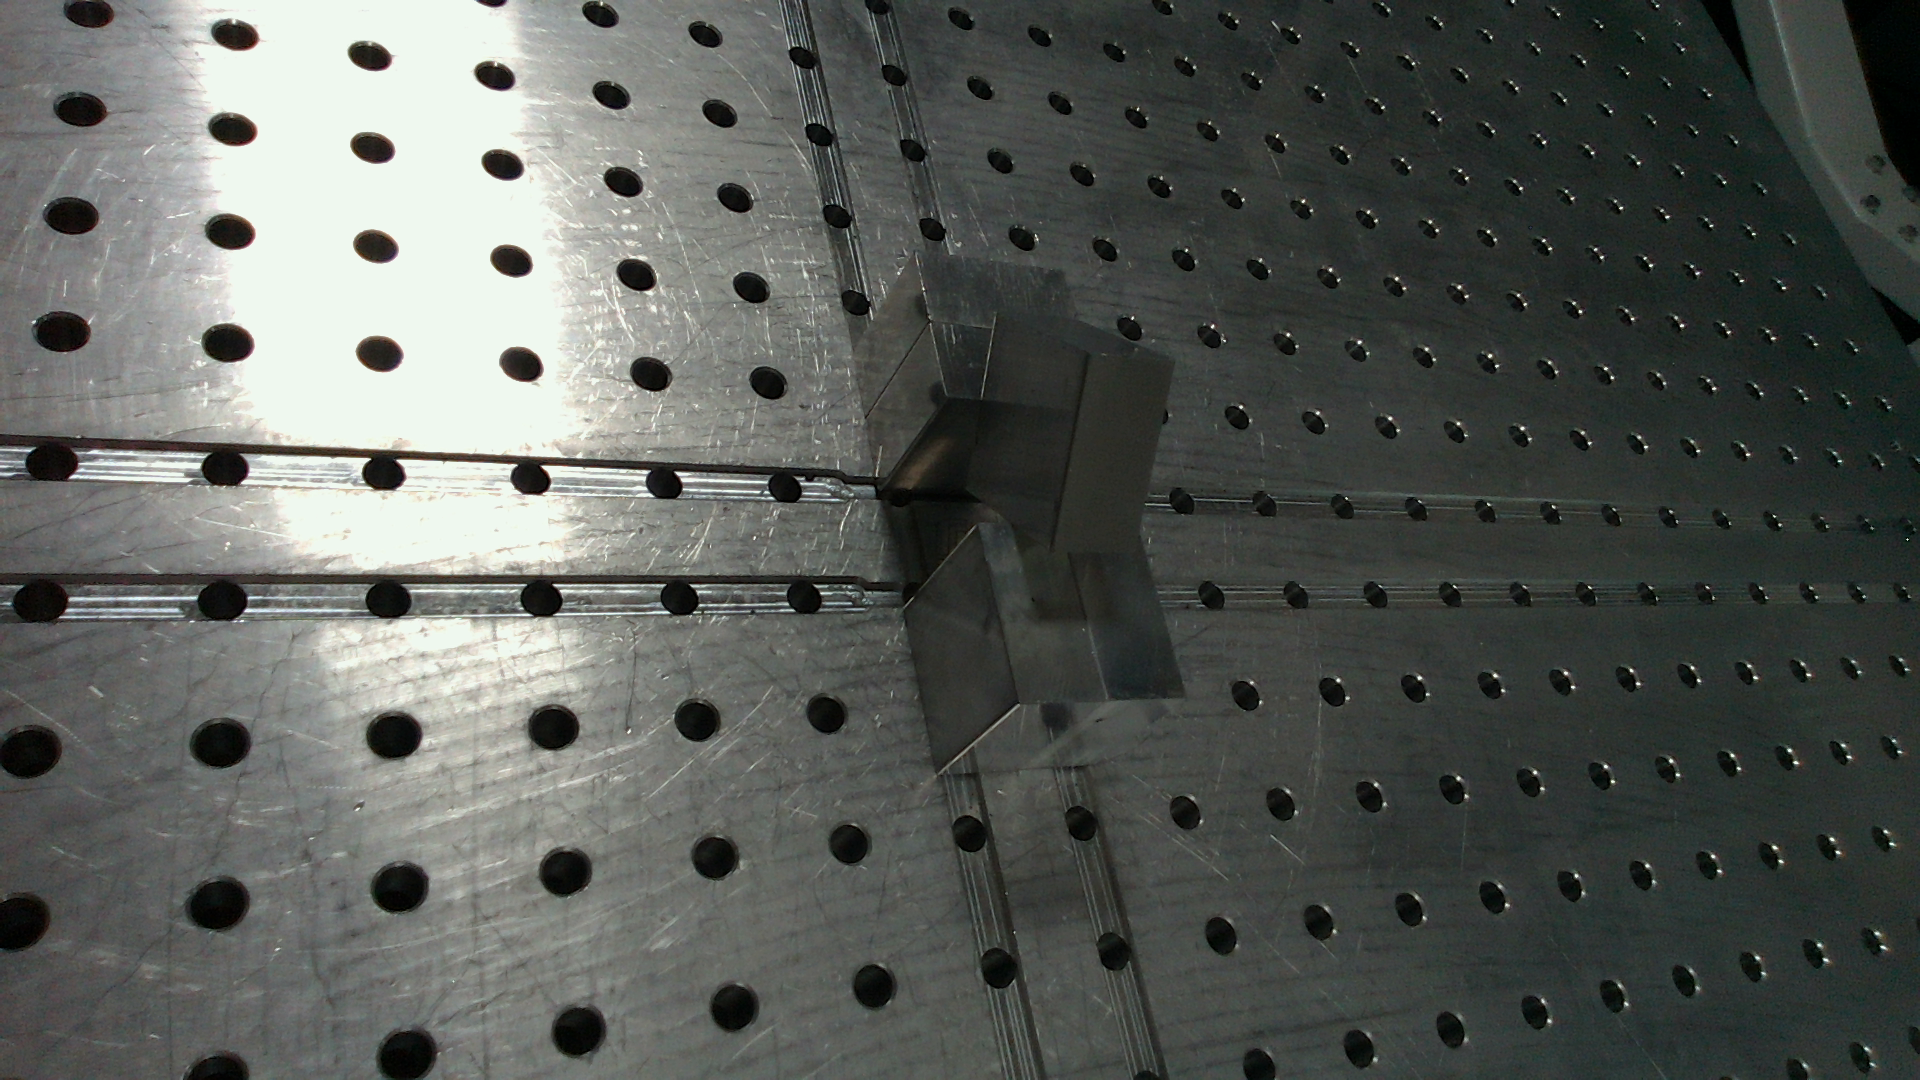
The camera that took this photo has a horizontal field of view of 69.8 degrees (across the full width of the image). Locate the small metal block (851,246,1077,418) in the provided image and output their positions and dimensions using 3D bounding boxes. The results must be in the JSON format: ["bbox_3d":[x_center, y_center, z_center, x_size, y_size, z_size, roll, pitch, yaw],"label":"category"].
[{"bbox_3d":[0.001,-0.059,0.413,0.050,0.050,0.025,2,61,-27],"label":"small metal block"}]

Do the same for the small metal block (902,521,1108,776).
[{"bbox_3d":[0.010,0.029,0.364,0.025,0.050,0.050,1,61,-27],"label":"small metal block"}]

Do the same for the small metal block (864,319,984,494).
[{"bbox_3d":[0.006,-0.037,0.401,0.050,0.050,0.025,2,61,-27],"label":"small metal block"}]

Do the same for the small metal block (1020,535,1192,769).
[{"bbox_3d":[0.033,0.029,0.375,0.025,0.050,0.050,1,61,-27],"label":"small metal block"}]

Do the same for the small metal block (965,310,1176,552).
[{"bbox_3d":[0.027,-0.029,0.356,0.025,0.050,0.050,0,19,-27],"label":"small metal block"}]
